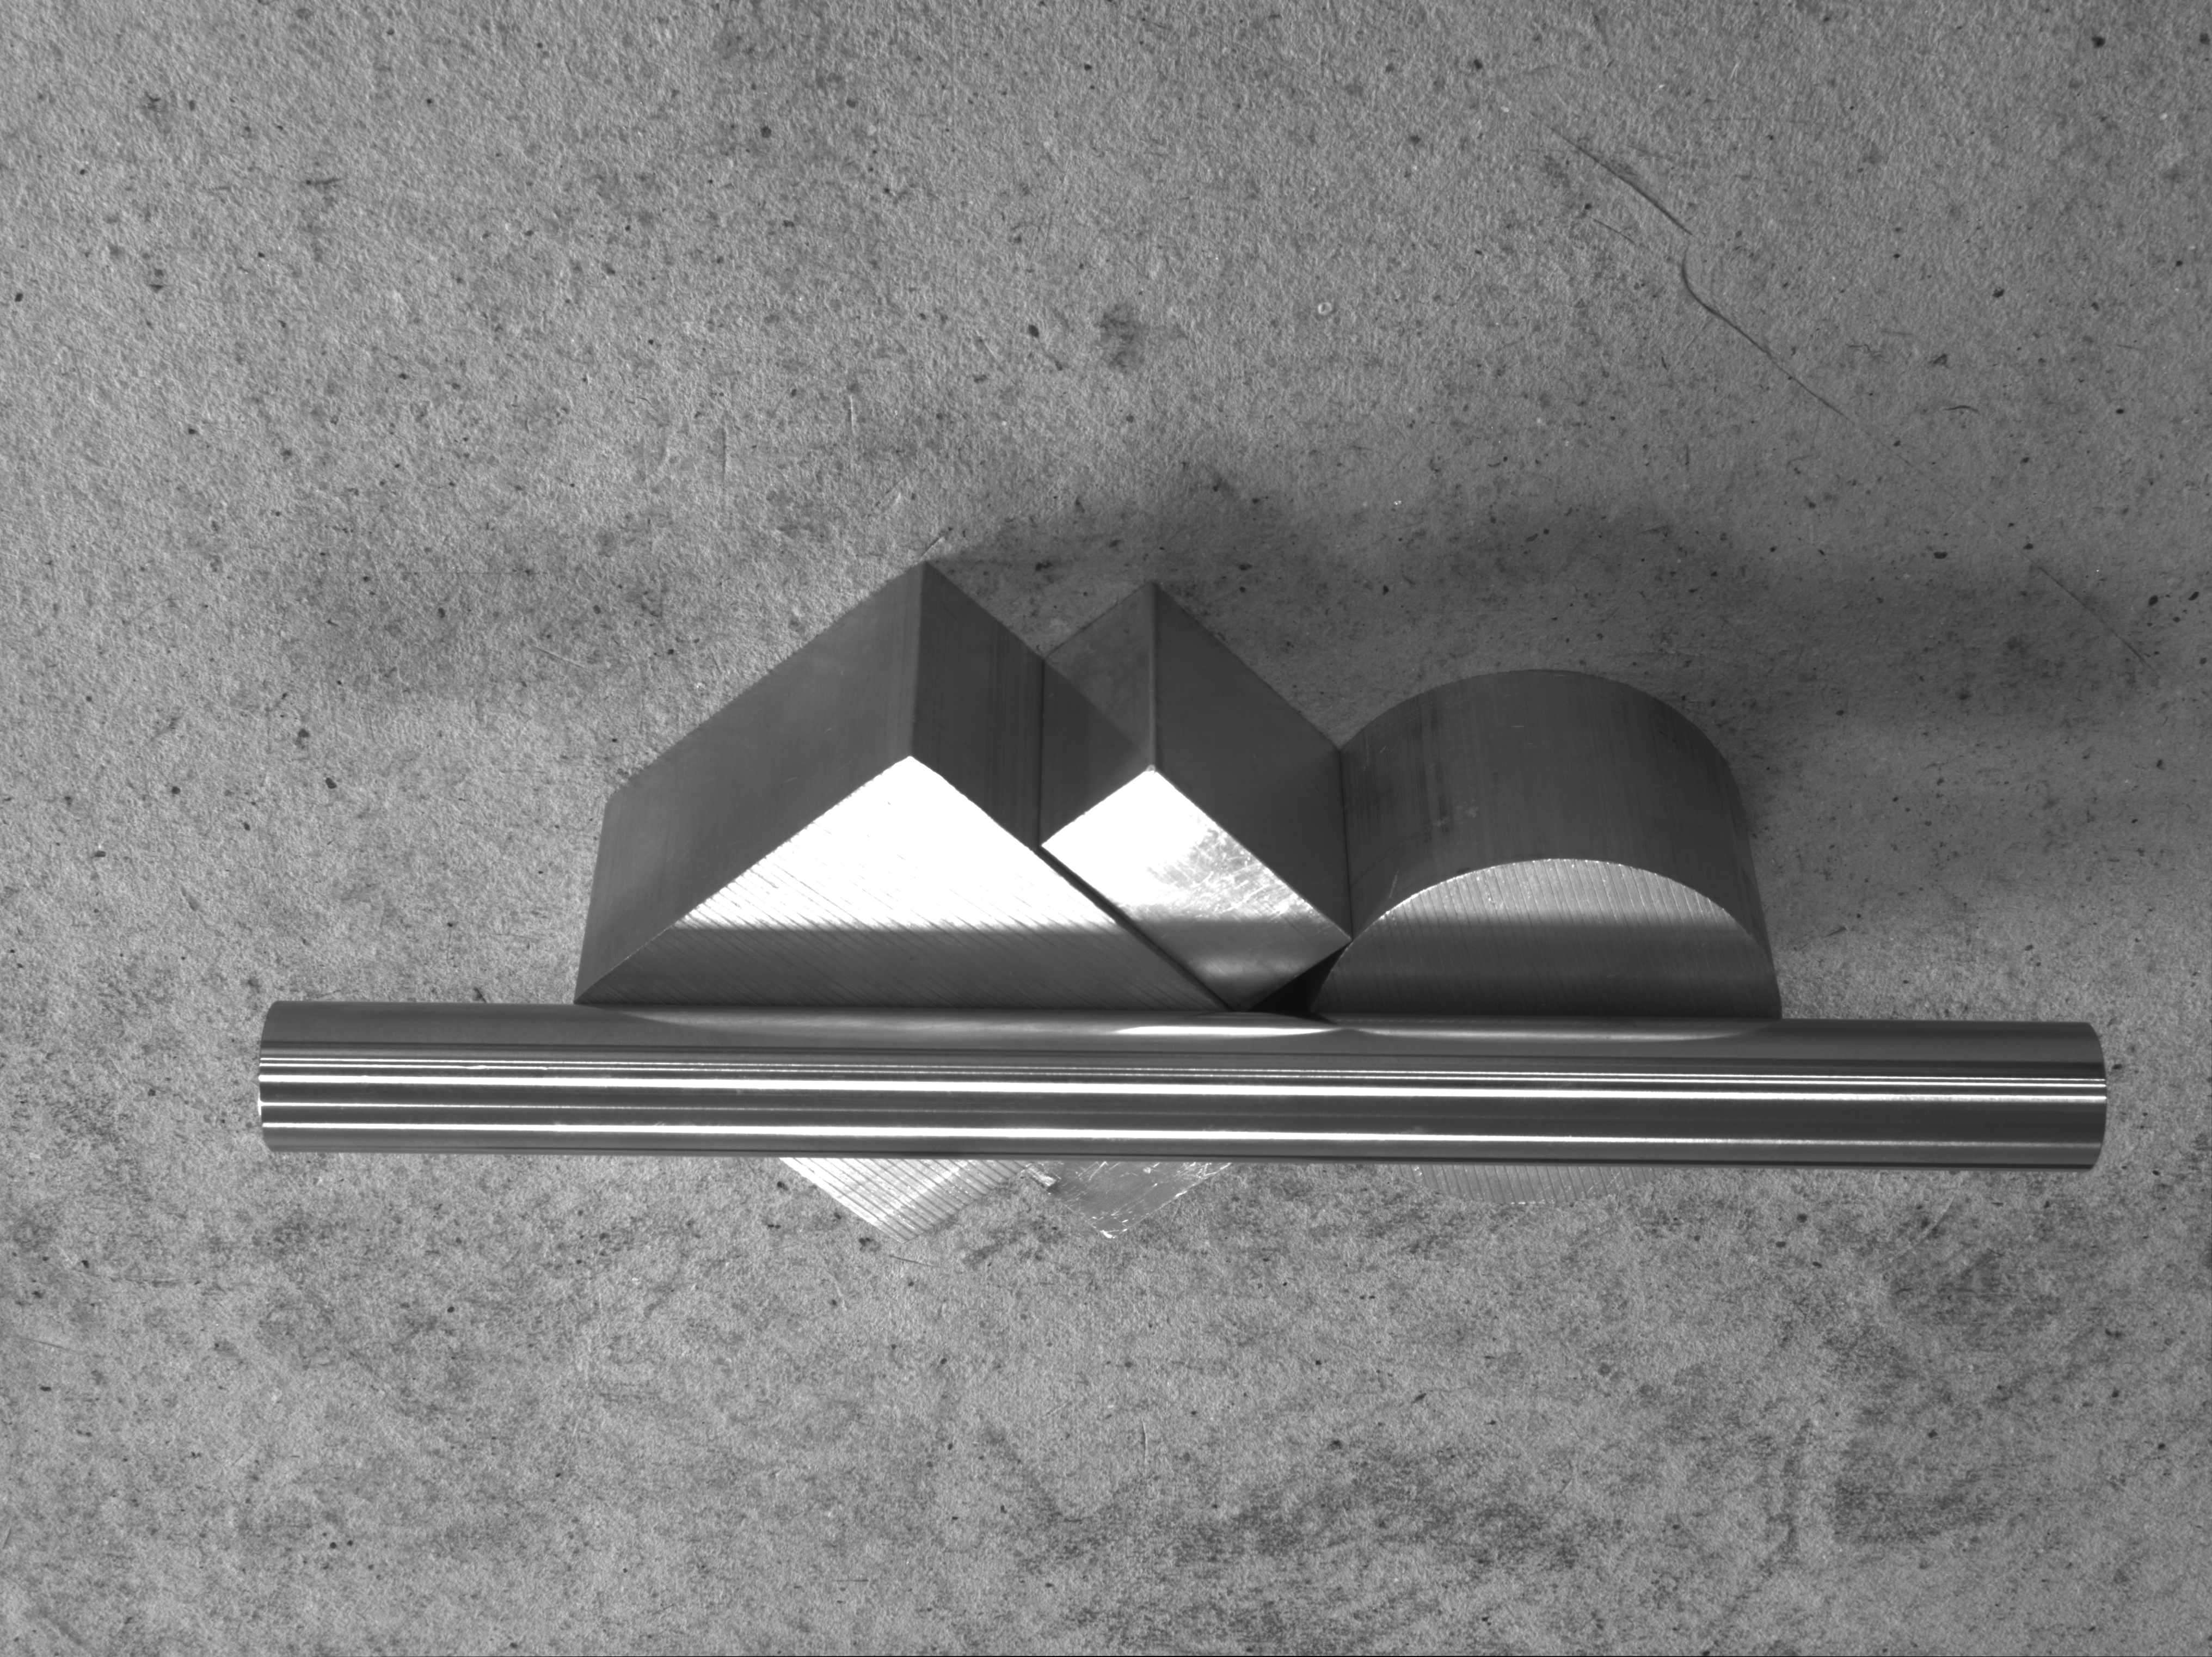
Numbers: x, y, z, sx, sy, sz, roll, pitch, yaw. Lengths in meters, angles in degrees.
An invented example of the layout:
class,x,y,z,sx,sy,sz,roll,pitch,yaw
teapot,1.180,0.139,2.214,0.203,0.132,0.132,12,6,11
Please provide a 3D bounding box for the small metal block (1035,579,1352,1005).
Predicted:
class,x,y,z,sx,sy,sz,roll,pitch,yaw
small metal block,0.015,-0.006,0.620,0.025,0.050,0.050,-35,122,26

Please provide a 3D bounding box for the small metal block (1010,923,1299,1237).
class,x,y,z,sx,sy,sz,roll,pitch,yaw
small metal block,0.010,0.037,0.656,0.050,0.050,0.025,-35,122,26

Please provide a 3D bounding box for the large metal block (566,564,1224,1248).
class,x,y,z,sx,sy,sz,roll,pitch,yaw
large metal block,-0.034,0.015,0.634,0.080,0.050,0.080,-35,122,26

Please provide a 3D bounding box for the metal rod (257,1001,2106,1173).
class,x,y,z,sx,sy,sz,roll,pitch,yaw
metal rod,0.013,0.043,0.608,0.300,0.025,0.025,1,130,-1

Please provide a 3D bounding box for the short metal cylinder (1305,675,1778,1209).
class,x,y,z,sx,sy,sz,roll,pitch,yaw
short metal cylinder,0.074,0.020,0.640,0.080,0.050,0.080,0,130,0
